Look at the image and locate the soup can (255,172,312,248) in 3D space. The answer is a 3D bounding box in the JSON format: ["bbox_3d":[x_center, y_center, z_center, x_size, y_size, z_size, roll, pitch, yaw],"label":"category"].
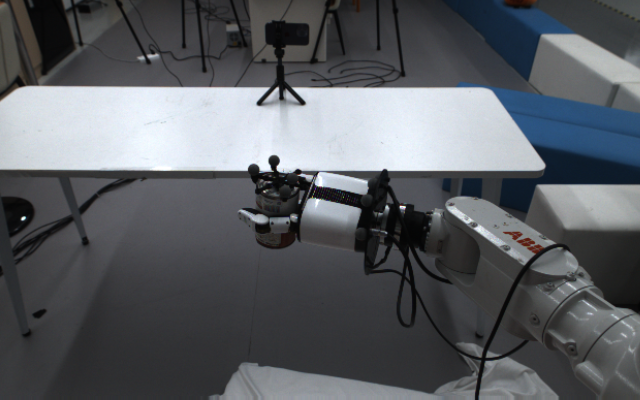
[{"bbox_3d":[-0.066,0.018,0.749,0.067,0.101,0.067,5,36,-4],"label":"soup can"}]
